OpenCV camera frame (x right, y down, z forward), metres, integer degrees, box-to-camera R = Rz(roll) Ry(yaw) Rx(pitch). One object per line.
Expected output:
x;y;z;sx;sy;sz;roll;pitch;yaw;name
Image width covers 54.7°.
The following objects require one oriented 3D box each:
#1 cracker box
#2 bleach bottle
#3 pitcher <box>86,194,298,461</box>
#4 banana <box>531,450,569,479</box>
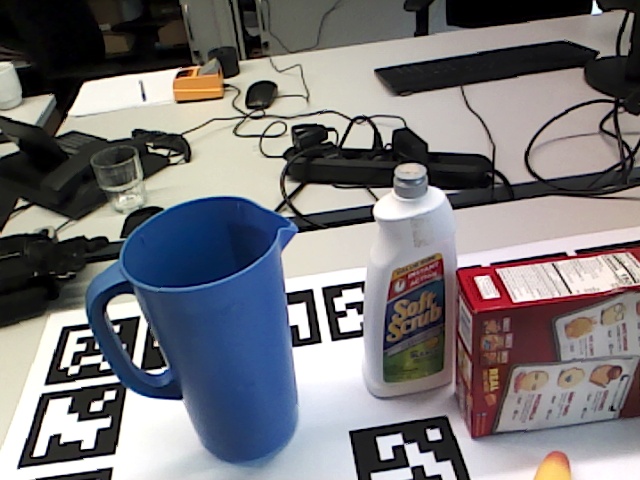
0.246;0.097;0.583;0.213;0.163;0.072;-9;31;0;cracker box
0.082;0.058;0.625;0.102;0.250;0.068;-9;33;-2;bleach bottle
-0.100;0.092;0.574;0.188;0.242;0.134;-18;34;-20;pitcher
0.161;0.251;0.524;0.196;0.039;0.075;-30;39;-30;banana
